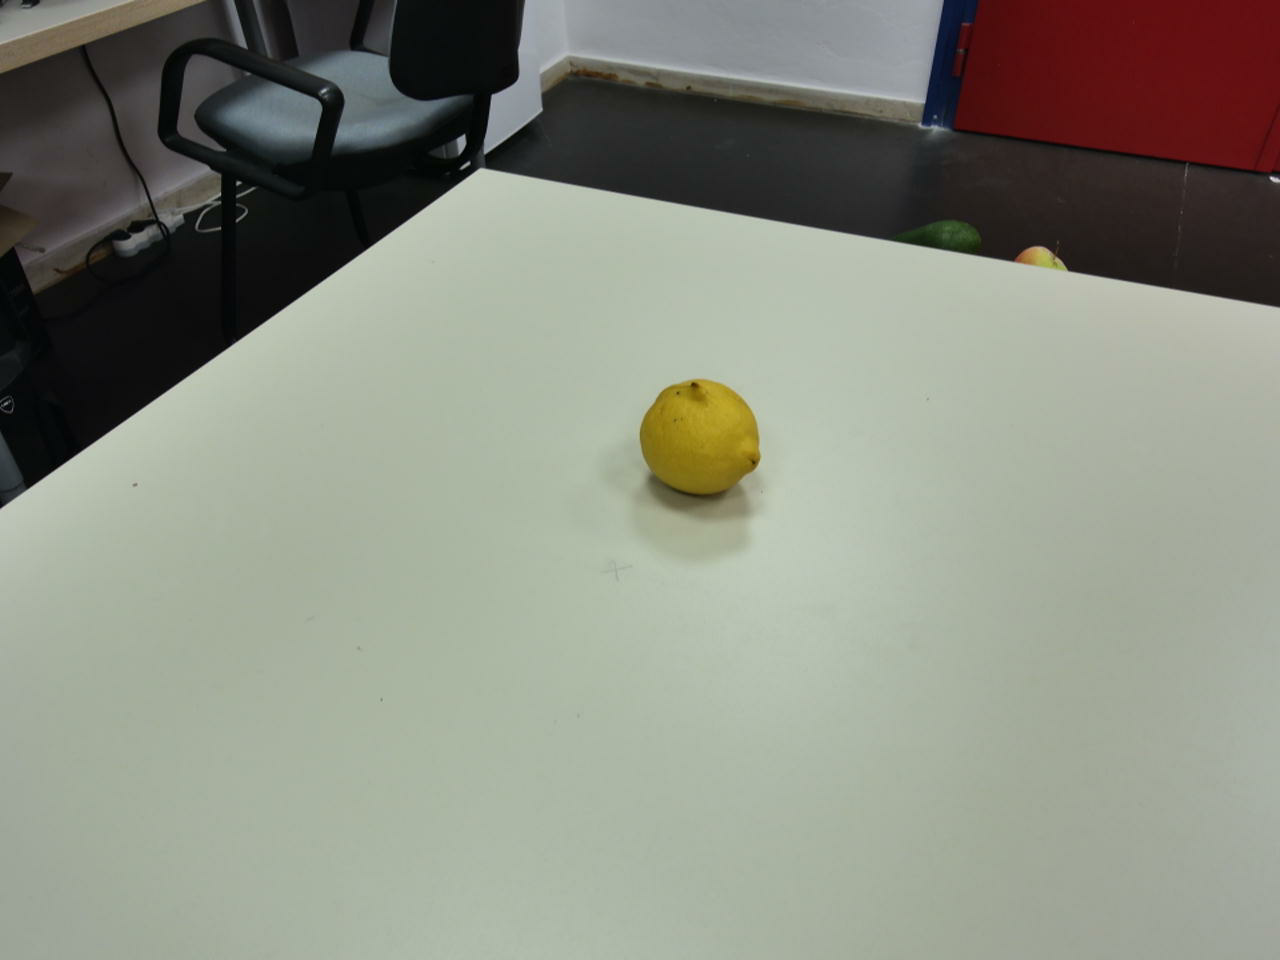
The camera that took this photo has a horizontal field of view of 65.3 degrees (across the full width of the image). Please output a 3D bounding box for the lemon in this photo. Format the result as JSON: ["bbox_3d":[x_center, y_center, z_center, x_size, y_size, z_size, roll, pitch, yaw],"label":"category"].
[{"bbox_3d":[0.035,-0.028,0.599,0.070,0.071,0.071,-5,39,-7],"label":"lemon"}]
